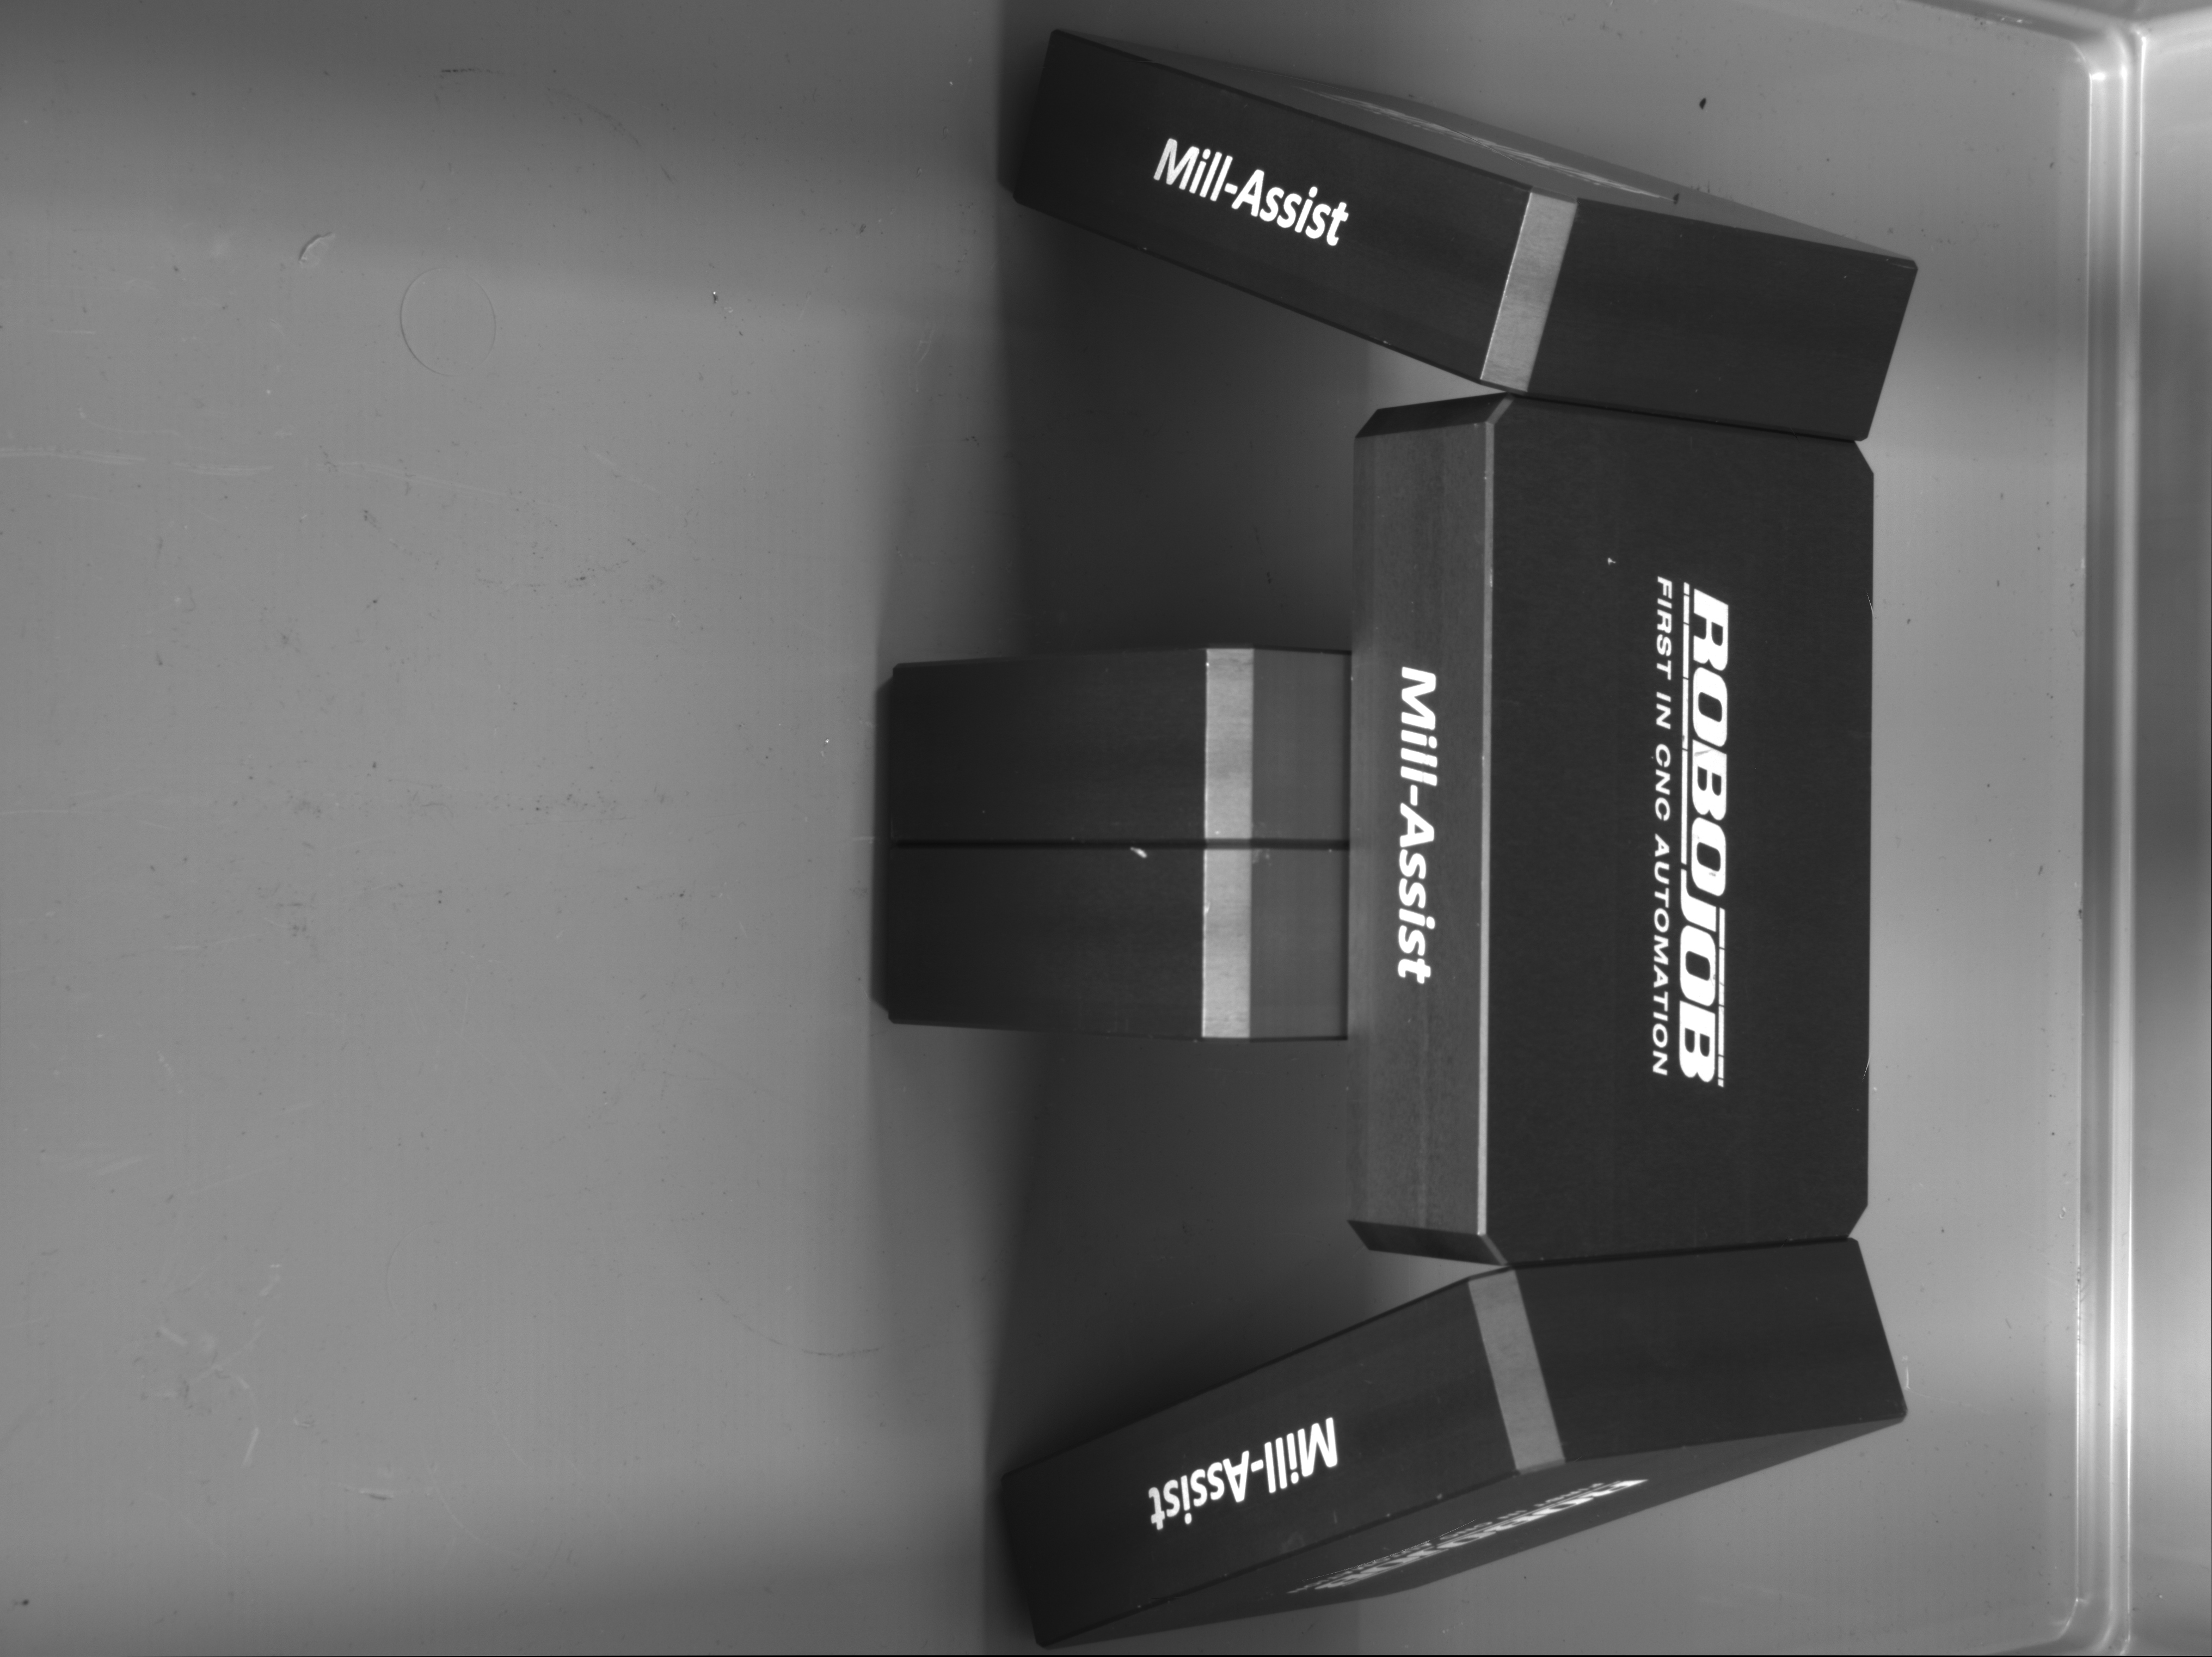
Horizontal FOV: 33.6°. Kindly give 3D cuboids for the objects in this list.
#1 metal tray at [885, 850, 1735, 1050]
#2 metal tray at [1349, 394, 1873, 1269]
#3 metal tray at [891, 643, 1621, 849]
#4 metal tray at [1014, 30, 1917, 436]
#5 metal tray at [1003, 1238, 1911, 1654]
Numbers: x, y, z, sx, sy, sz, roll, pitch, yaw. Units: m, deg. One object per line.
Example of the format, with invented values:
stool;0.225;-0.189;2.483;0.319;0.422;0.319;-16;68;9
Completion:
metal tray;0.039;0.020;0.625;0.131;0.090;0.030;1;89;-40
metal tray;0.081;0.001;0.582;0.090;0.030;0.130;1;89;-40
metal tray;0.040;-0.012;0.626;0.131;0.090;0.030;1;89;-40
metal tray;0.058;-0.101;0.613;0.090;0.130;0.030;1;110;-40
metal tray;0.056;0.104;0.611;0.090;0.130;0.030;1;68;-40
